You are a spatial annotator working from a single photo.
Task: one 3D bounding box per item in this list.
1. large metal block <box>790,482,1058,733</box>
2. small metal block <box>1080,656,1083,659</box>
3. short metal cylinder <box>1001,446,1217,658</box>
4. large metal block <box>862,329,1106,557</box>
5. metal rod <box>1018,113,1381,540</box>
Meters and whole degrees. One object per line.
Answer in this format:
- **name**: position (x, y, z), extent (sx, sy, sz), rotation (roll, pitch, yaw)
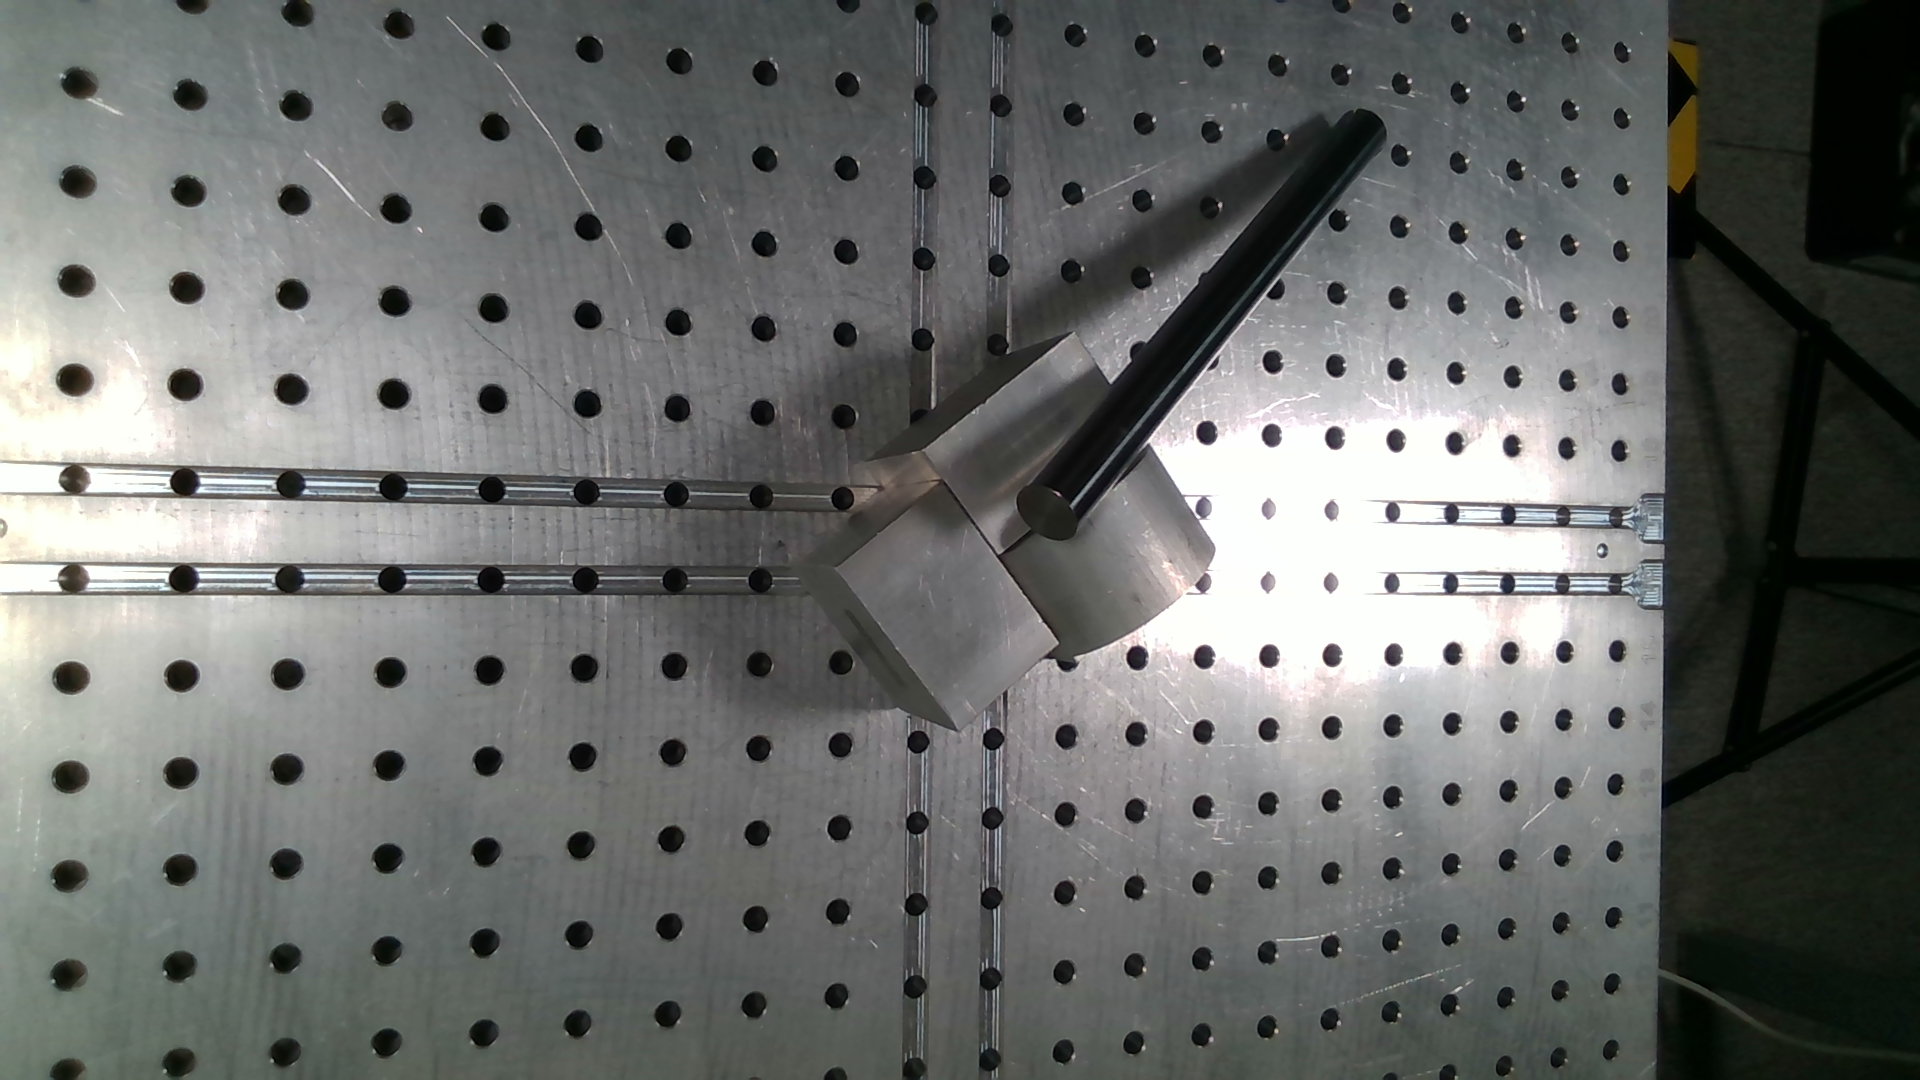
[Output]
- **large metal block**: position (-0.018, 0.025, 0.551), extent (0.050, 0.080, 0.080), rotation (-39, 103, -16)
- **small metal block**: position (0.048, 0.018, 0.607), extent (0.050, 0.025, 0.050), rotation (-44, 104, -15)
- **short metal cylinder**: position (0.055, 0.003, 0.552), extent (0.080, 0.080, 0.050), rotation (-38, 102, -16)
- **large metal block**: position (0.016, -0.038, 0.566), extent (0.080, 0.080, 0.050), rotation (-39, 103, -16)
- **metal rod**: position (0.111, -0.102, 0.573), extent (0.025, 0.025, 0.299), rotation (51, 53, -13)
